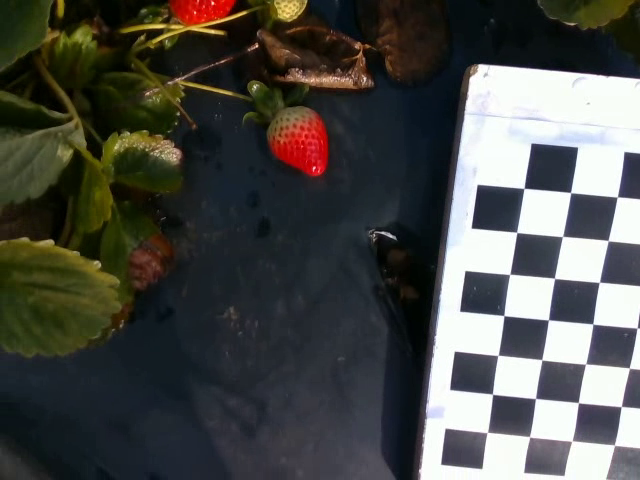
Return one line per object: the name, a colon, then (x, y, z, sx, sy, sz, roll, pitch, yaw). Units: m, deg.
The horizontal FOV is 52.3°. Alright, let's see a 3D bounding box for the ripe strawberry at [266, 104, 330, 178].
ripe strawberry: (-0.011, -0.051, 0.334, 0.035, 0.043, 0.030, -32, 4, 6)
